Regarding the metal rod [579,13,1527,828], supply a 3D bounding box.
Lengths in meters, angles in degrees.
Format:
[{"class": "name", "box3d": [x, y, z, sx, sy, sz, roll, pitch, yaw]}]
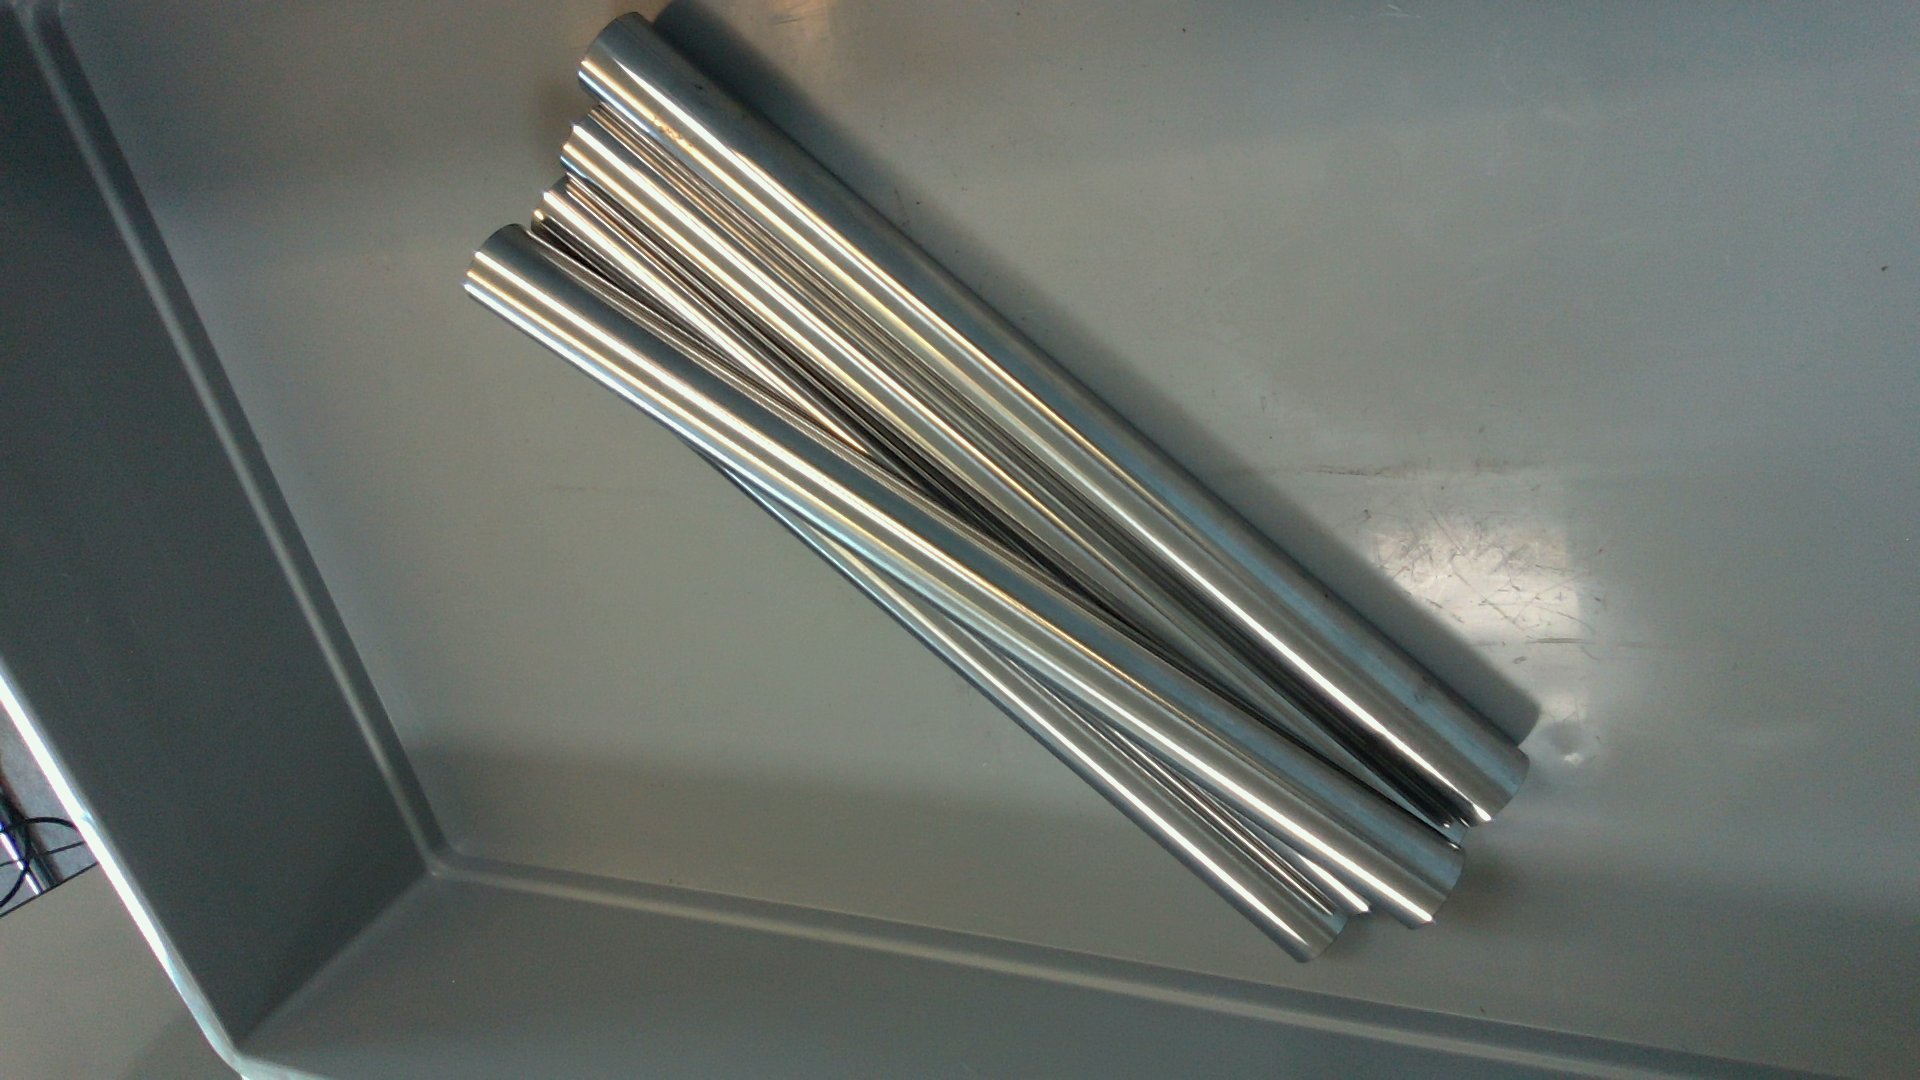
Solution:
[{"class": "metal rod", "box3d": [0.023, -0.031, 0.360, 0.300, 0.025, 0.025, 40, 129, 1]}]

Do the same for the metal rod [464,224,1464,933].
[{"class": "metal rod", "box3d": [-0.004, 0.006, 0.364, 0.300, 0.025, 0.025, 34, 129, 6]}]

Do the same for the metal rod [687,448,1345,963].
[{"class": "metal rod", "box3d": [-0.008, 0.018, 0.407, 0.300, 0.025, 0.025, 40, 129, 1]}]

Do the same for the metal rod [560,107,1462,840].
[{"class": "metal rod", "box3d": [0.014, -0.014, 0.376, 0.300, 0.025, 0.025, 40, 129, 1]}]

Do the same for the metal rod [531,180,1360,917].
[{"class": "metal rod", "box3d": [0.001, 0.000, 0.391, 0.300, 0.025, 0.025, 40, 129, 1]}]
